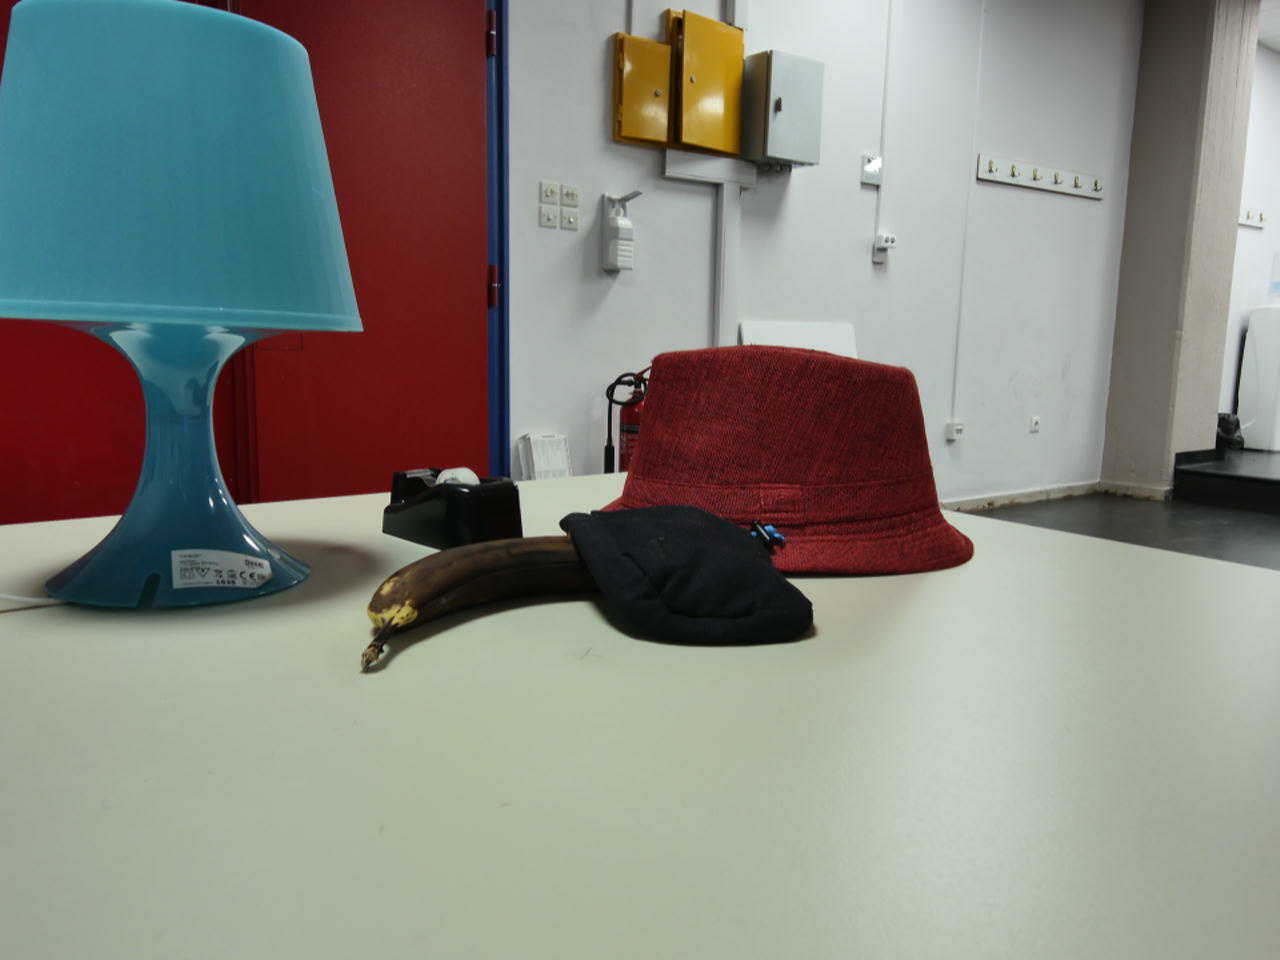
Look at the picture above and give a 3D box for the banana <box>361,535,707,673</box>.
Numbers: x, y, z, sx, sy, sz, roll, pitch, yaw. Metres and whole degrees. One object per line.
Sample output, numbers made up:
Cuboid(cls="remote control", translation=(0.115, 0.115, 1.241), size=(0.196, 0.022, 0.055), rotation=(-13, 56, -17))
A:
Cuboid(cls="banana", translation=(-0.062, 0.050, 0.499), size=(0.188, 0.033, 0.091), rotation=(-4, 7, -36))
